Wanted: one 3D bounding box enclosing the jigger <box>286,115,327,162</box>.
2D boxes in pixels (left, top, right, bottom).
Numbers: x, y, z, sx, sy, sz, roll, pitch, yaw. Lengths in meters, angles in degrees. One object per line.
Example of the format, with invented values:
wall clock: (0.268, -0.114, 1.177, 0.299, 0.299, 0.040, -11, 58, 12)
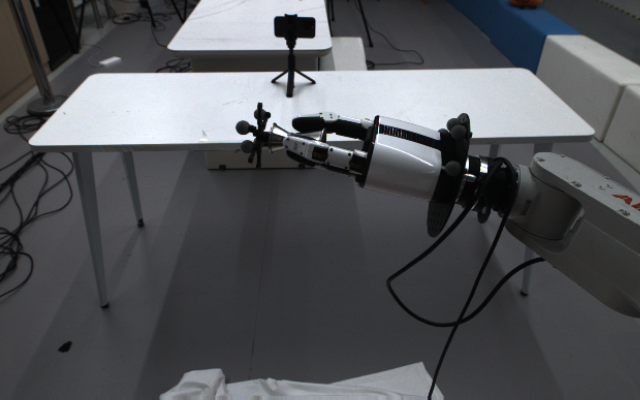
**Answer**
jigger: (-0.021, -0.080, 0.627, 0.071, 0.043, 0.043, 7, 35, 7)
